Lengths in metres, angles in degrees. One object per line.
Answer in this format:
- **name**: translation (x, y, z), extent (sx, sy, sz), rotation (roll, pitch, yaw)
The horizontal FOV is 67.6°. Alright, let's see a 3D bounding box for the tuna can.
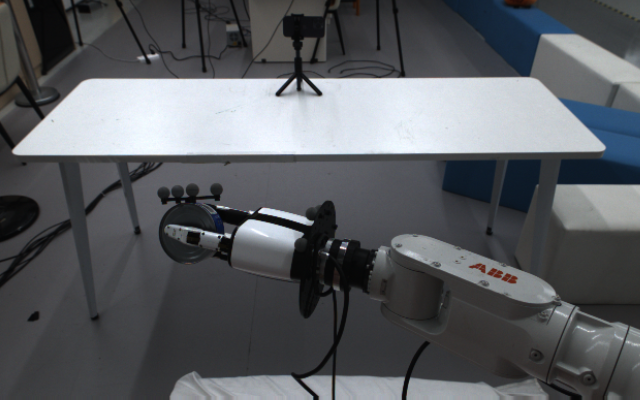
- **tuna can**: translation (-0.174, 0.047, 0.681), extent (0.085, 0.085, 0.034), rotation (10, 2, 11)
